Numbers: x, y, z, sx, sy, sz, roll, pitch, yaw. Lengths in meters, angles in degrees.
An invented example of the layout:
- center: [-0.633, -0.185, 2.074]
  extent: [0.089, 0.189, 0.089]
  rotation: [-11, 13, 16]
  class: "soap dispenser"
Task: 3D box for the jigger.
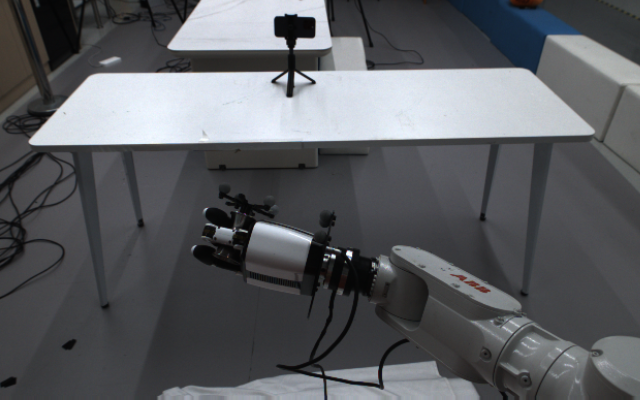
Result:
- center: [-0.120, 0.055, 0.699]
  extent: [0.043, 0.043, 0.071]
  rotation: [12, 71, 14]
  class: "jigger"
